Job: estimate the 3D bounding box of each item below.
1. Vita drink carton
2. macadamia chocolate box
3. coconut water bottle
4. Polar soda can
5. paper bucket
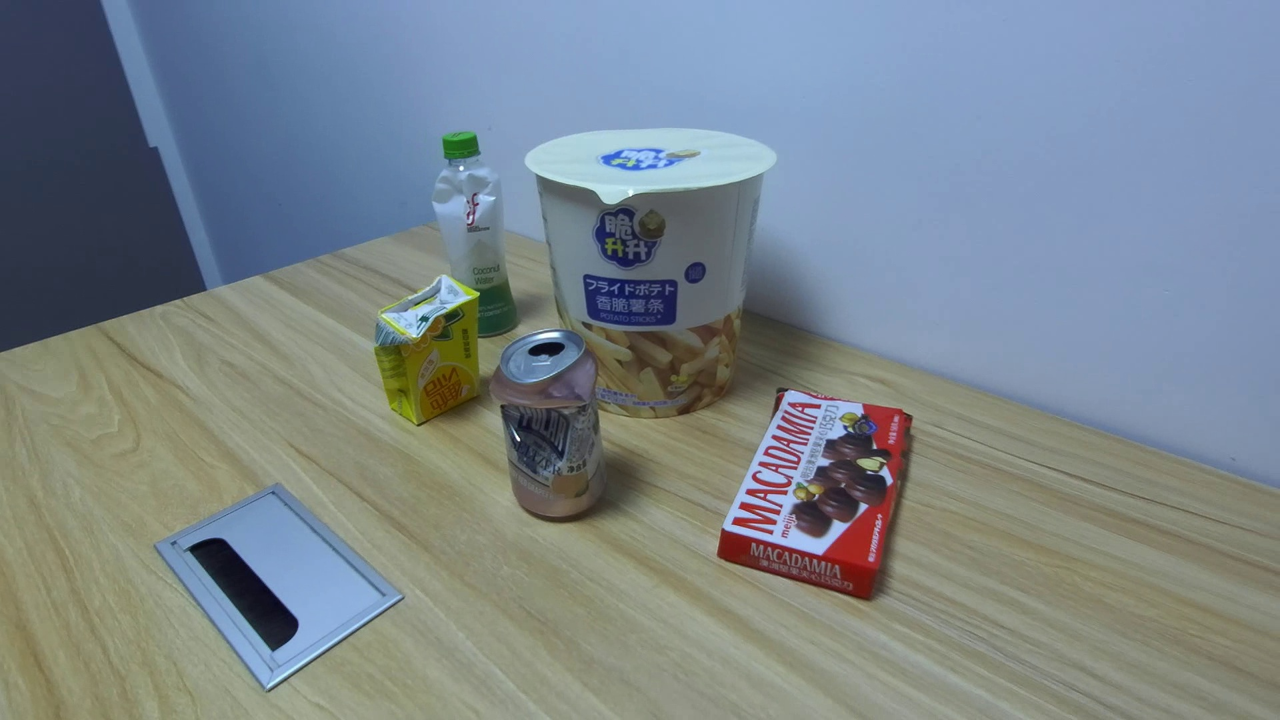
[{"bbox_3d":[-0.165,-0.005,0.564,0.042,0.108,0.087,36,48,28],"label":"Vita drink carton"},{"bbox_3d":[0.127,0.079,0.486,0.105,0.028,0.183,11,32,19],"label":"macadamia chocolate box"},{"bbox_3d":[-0.159,-0.116,0.673,0.069,0.186,0.069,-2,28,2],"label":"coconut water bottle"},{"bbox_3d":[-0.060,0.045,0.462,0.071,0.122,0.066,-3,36,-2],"label":"Polar soda can"},{"bbox_3d":[0.011,-0.073,0.581,0.198,0.195,0.198,-1,30,1],"label":"paper bucket"}]
